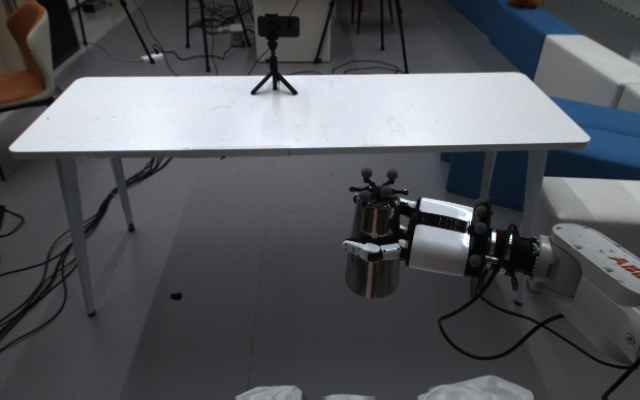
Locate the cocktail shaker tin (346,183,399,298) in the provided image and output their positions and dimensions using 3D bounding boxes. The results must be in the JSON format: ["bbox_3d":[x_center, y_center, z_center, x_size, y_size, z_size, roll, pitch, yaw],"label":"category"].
[{"bbox_3d":[0.091,0.063,0.782,0.093,0.170,0.093,0,33,0],"label":"cocktail shaker tin"}]
